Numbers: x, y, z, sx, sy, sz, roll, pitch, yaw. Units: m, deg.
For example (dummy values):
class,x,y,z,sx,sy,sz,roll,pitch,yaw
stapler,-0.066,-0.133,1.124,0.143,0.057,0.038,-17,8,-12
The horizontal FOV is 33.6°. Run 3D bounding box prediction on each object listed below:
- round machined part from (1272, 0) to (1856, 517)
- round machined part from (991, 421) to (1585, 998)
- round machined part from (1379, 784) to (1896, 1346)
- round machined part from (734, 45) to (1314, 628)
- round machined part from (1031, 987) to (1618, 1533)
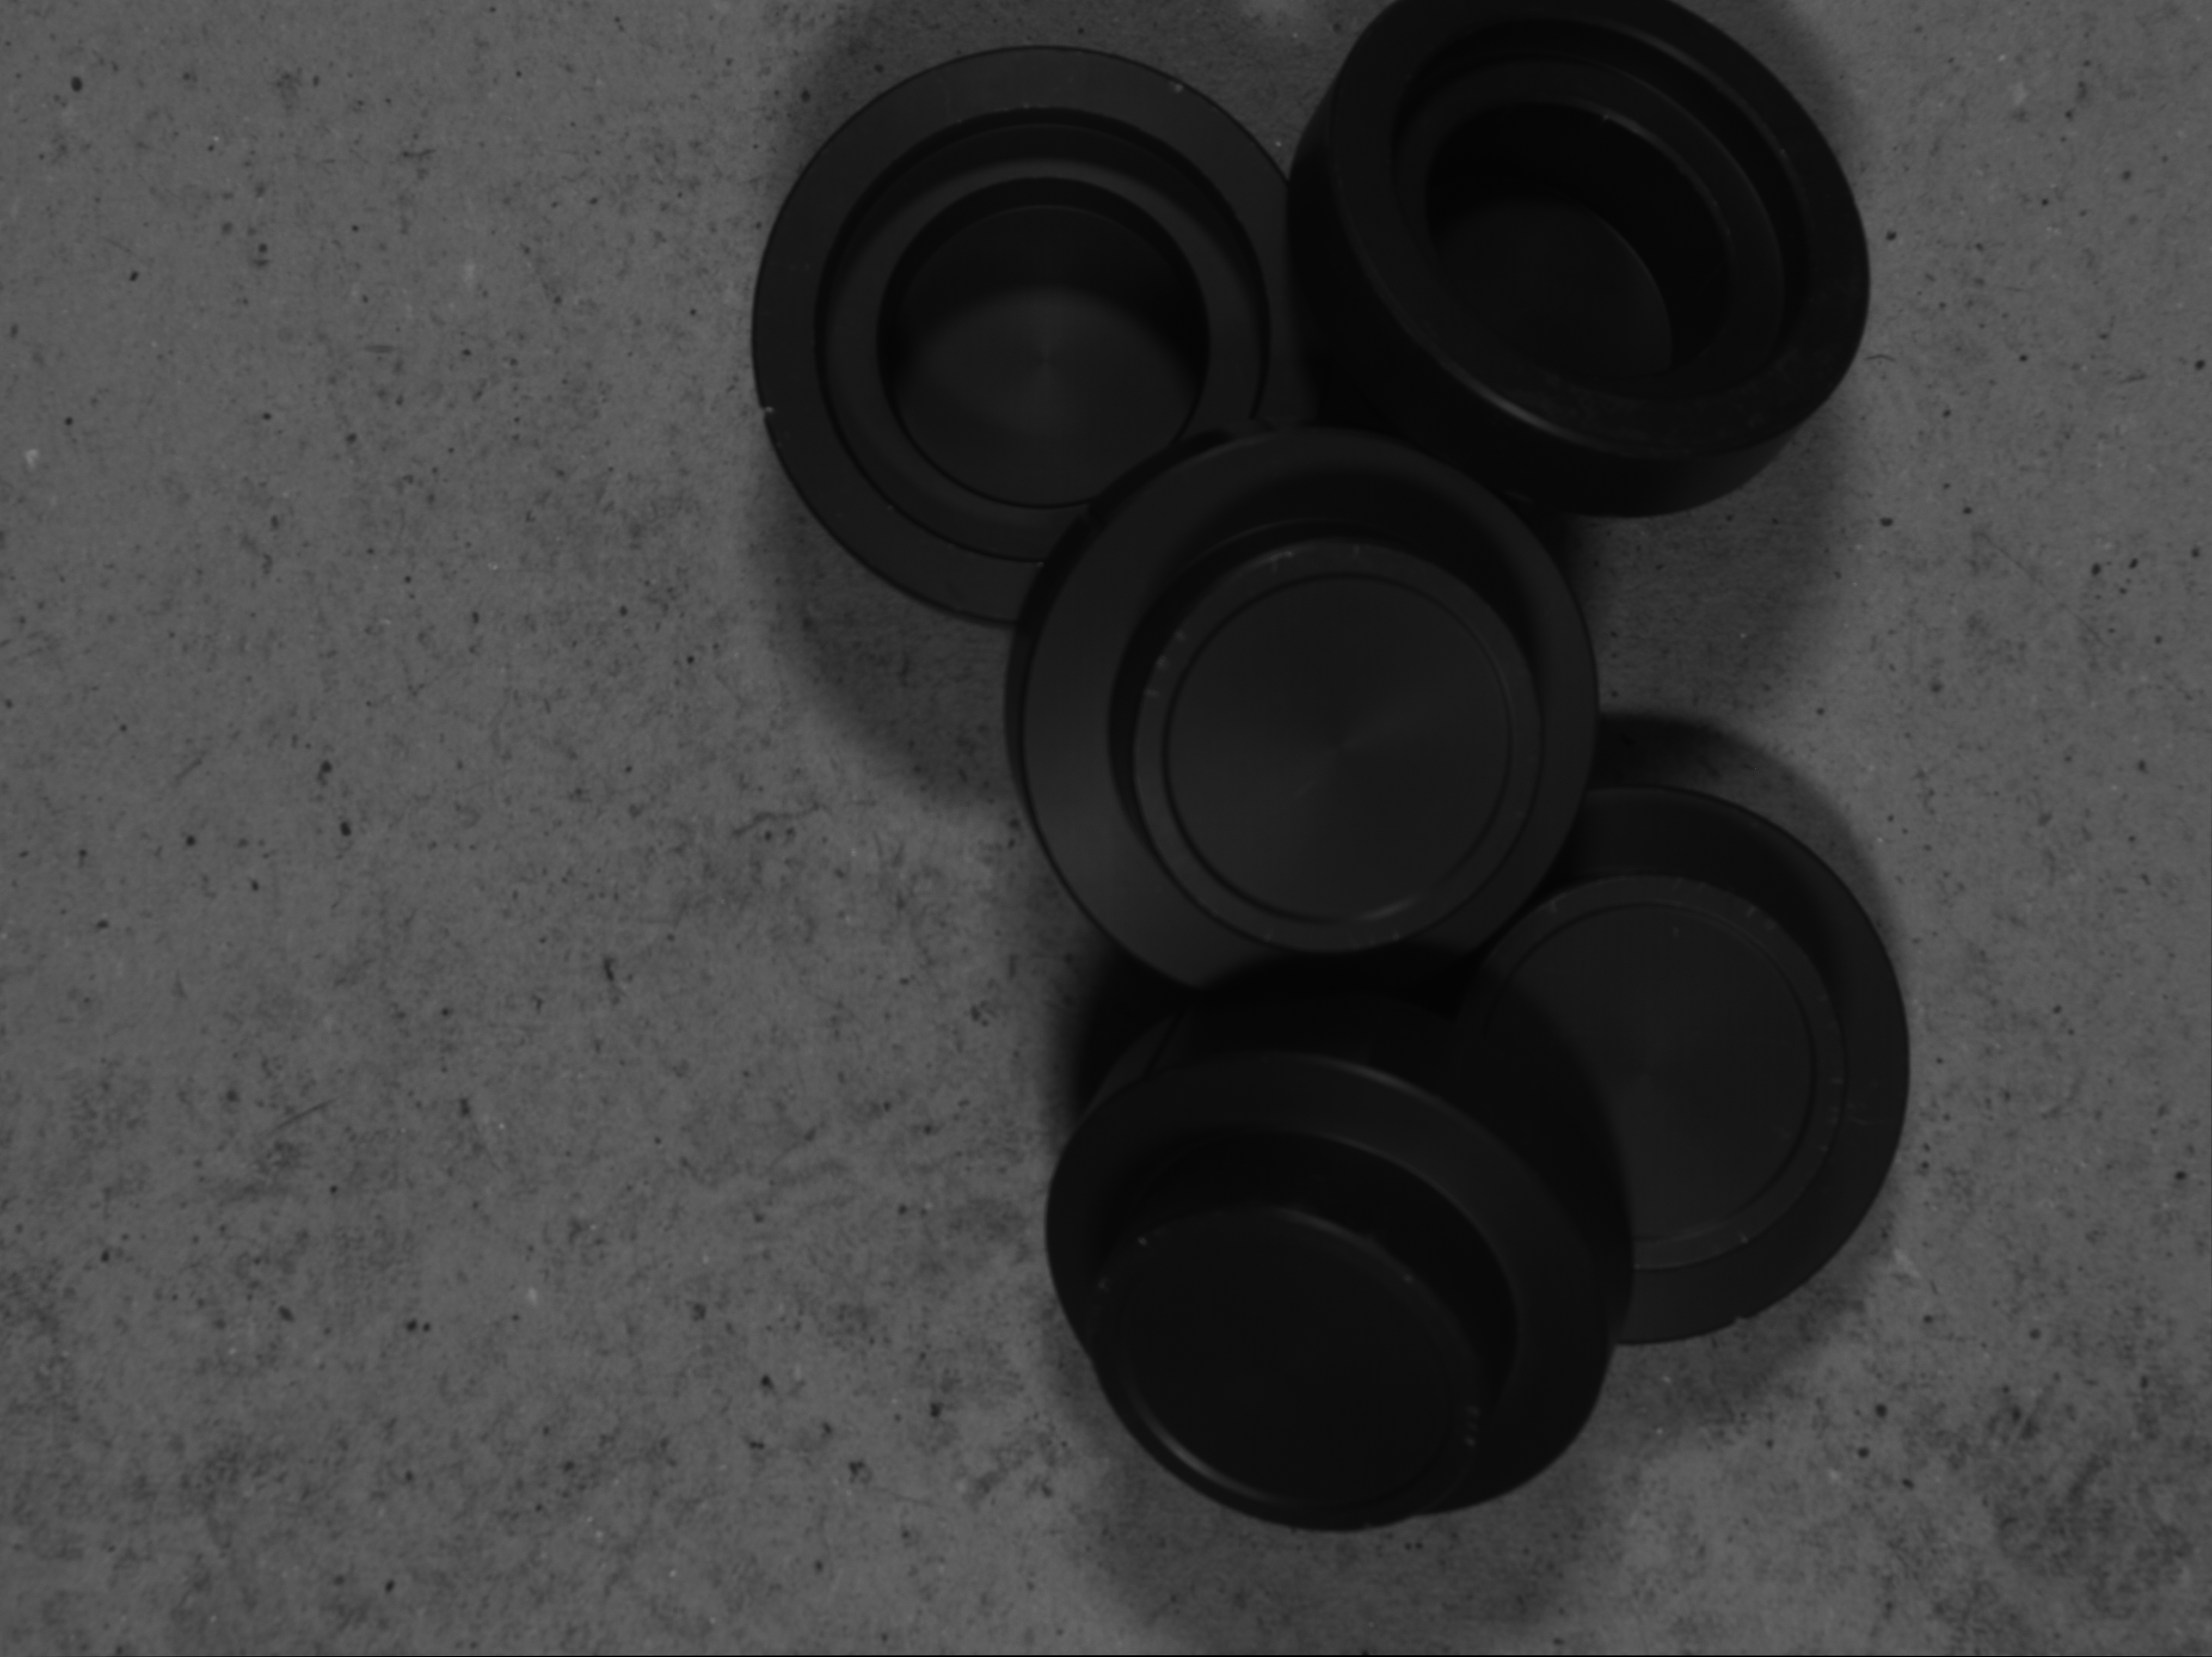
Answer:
class,x,y,z,sx,sy,sz,roll,pitch,yaw
round machined part,0.074,-0.095,0.624,0.098,0.042,0.098,8,62,-16
round machined part,0.032,-0.017,0.604,0.098,0.042,0.098,-2,101,-8
round machined part,0.089,0.041,0.637,0.098,0.042,0.098,0,90,0
round machined part,-0.014,-0.083,0.637,0.098,0.042,0.098,0,90,0
round machined part,0.033,0.078,0.612,0.098,0.042,0.098,11,125,16
